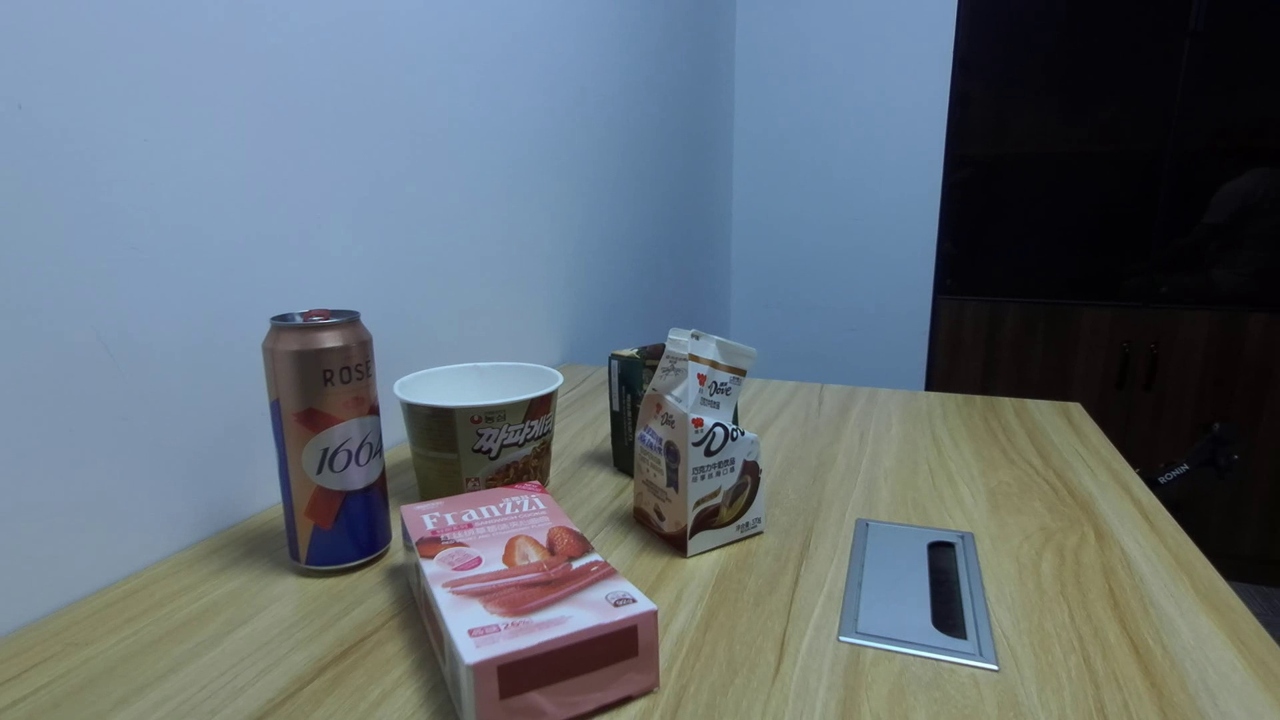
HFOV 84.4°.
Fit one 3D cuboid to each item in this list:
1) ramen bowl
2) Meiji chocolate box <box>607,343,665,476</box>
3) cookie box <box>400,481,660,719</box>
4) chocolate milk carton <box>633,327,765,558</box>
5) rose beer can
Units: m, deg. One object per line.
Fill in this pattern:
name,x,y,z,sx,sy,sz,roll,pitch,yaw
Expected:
ramen bowl,-0.134,0.062,0.606,0.140,0.095,0.140,0,14,0
Meiji chocolate box,0.031,0.041,0.662,0.118,0.117,0.051,-10,9,-38
cookie box,-0.069,0.129,0.405,0.105,0.049,0.186,-6,14,-26
chocolate milk carton,0.044,0.050,0.505,0.076,0.155,0.073,-8,18,-31
rose beer can,-0.209,0.054,0.474,0.068,0.169,0.068,1,13,0
